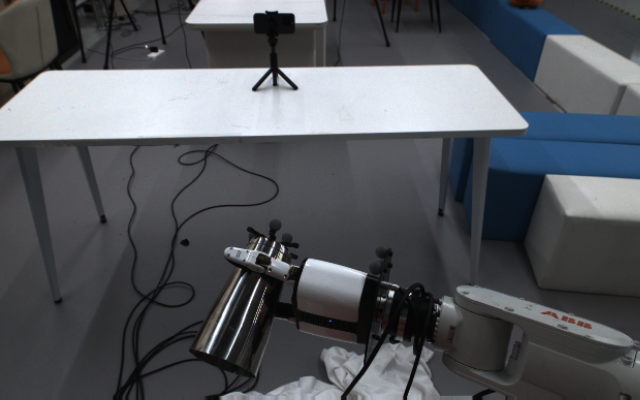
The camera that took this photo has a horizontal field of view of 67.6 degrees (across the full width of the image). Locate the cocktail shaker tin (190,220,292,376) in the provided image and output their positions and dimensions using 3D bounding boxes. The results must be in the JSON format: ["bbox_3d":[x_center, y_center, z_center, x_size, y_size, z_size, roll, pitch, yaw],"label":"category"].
[{"bbox_3d":[-0.098,0.136,0.653,0.093,0.093,0.170,13,59,16],"label":"cocktail shaker tin"}]
